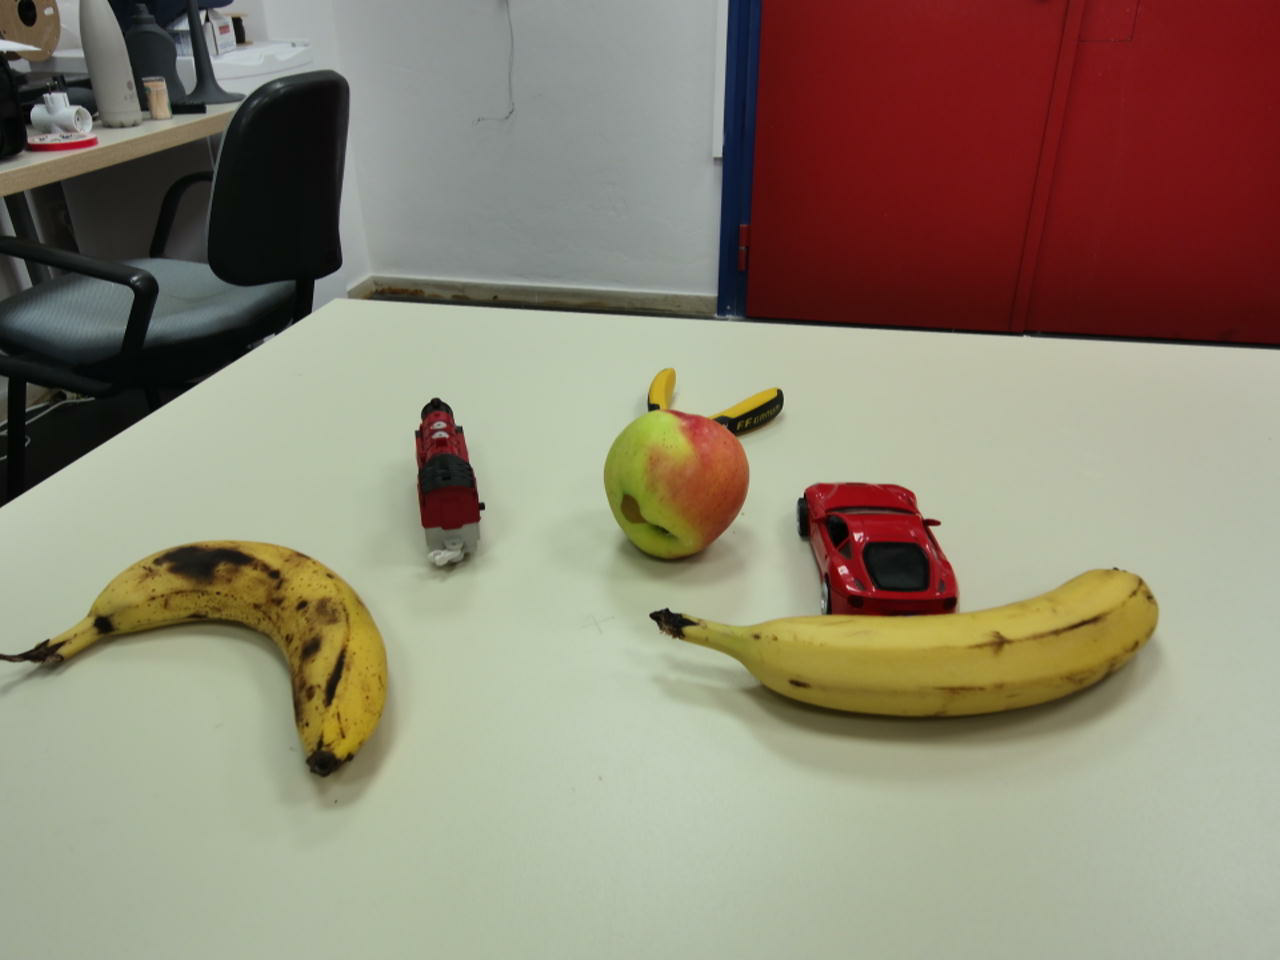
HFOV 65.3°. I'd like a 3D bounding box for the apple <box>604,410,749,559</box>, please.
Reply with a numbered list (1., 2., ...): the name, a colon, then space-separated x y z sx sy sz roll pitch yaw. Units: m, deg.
1. apple: 0.019 0.002 0.512 0.075 0.074 0.075 -3 25 -7
